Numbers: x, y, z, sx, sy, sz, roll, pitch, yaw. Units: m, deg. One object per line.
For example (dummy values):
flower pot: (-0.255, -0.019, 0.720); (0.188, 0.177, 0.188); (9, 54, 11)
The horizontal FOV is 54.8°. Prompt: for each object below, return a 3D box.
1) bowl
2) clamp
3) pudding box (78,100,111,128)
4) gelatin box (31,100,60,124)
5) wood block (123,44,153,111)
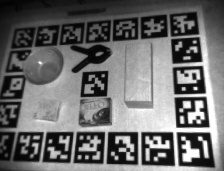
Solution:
bowl: (-0.260, -0.067, 0.840); (0.161, 0.055, 0.161); (-3, 74, 10)
clamp: (-0.099, -0.109, 0.834); (0.165, 0.037, 0.121); (-12, 69, 5)
pudding box: (-0.059, 0.099, 0.746); (0.113, 0.039, 0.090); (-4, 75, 13)
gelatin box: (-0.241, 0.096, 0.786); (0.089, 0.030, 0.073); (6, 74, 13)
wood block: (0.094, -0.026, 0.728); (0.089, 0.092, 0.206); (1, 72, 11)
